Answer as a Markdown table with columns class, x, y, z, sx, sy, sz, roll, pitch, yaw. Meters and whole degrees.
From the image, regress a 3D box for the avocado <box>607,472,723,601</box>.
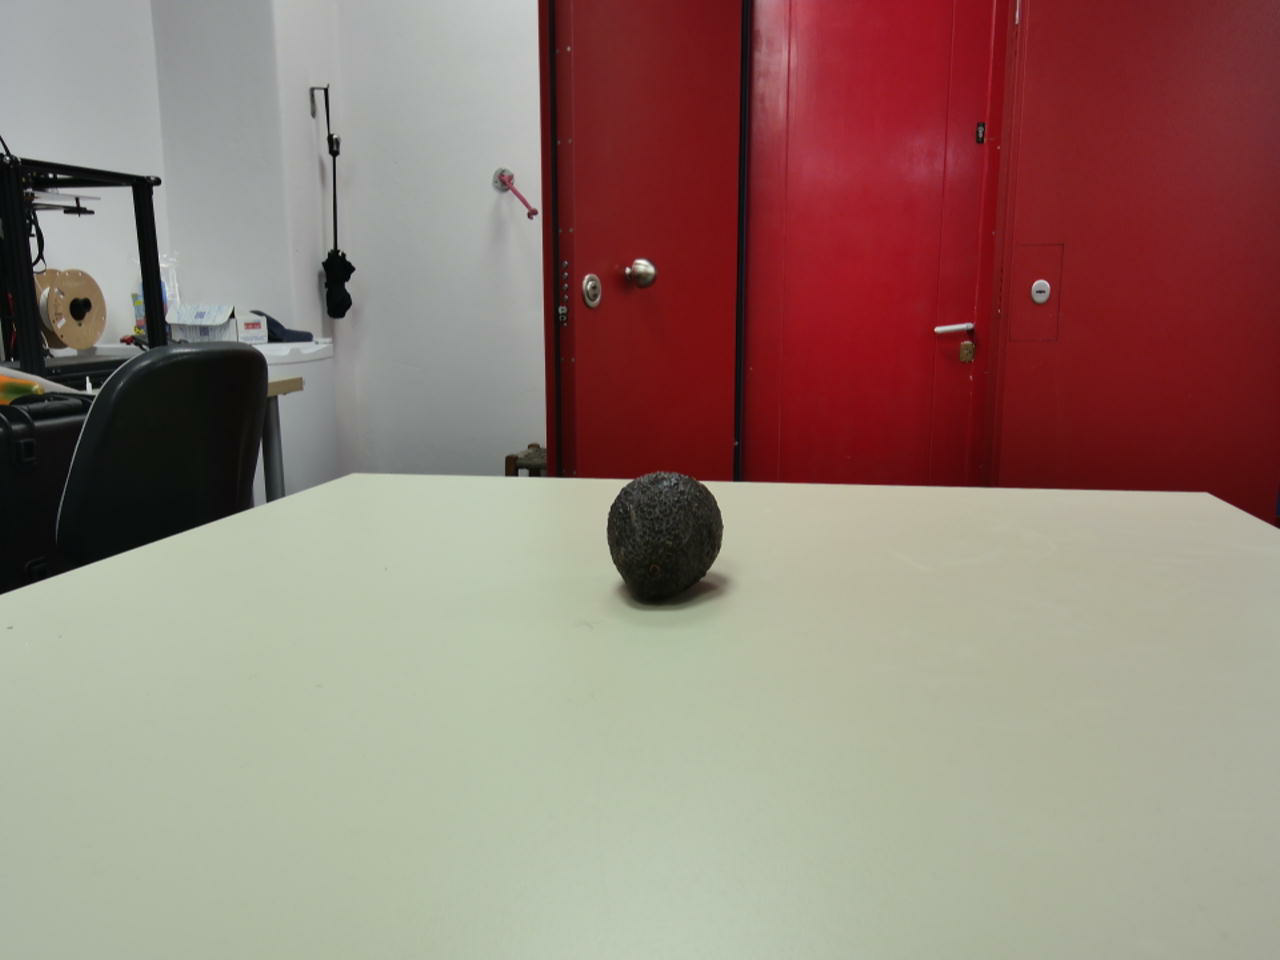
| class | x | y | z | sx | sy | sz | roll | pitch | yaw |
| --- | --- | --- | --- | --- | --- | --- | --- | --- | --- |
| avocado | 0.012 | 0.030 | 0.593 | 0.070 | 0.069 | 0.090 | 7 | 9 | 36 |
